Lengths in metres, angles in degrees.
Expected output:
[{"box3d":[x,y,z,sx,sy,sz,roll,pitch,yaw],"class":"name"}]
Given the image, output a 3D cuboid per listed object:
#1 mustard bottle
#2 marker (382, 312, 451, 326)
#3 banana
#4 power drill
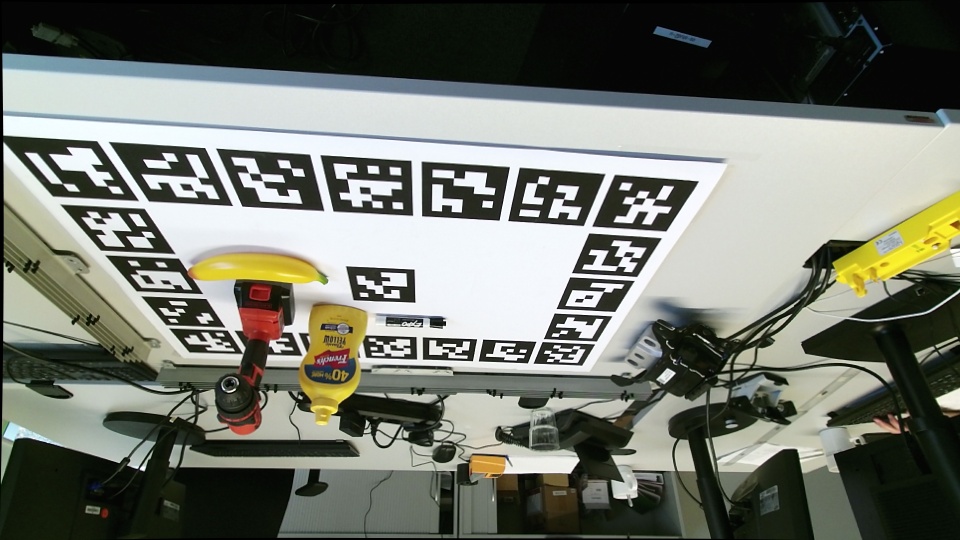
[{"box3d":[-0.237,0.145,0.885,0.096,0.190,0.058,10,142,-12],"class":"mustard bottle"},{"box3d":[-0.112,0.087,0.952,0.121,0.019,0.019,4,142,-6],"class":"marker"},{"box3d":[-0.320,-0.013,0.802,0.198,0.038,0.074,6,141,-12],"class":"banana"},{"box3d":[-0.337,0.115,0.815,0.057,0.186,0.185,12,144,-14],"class":"power drill"}]
